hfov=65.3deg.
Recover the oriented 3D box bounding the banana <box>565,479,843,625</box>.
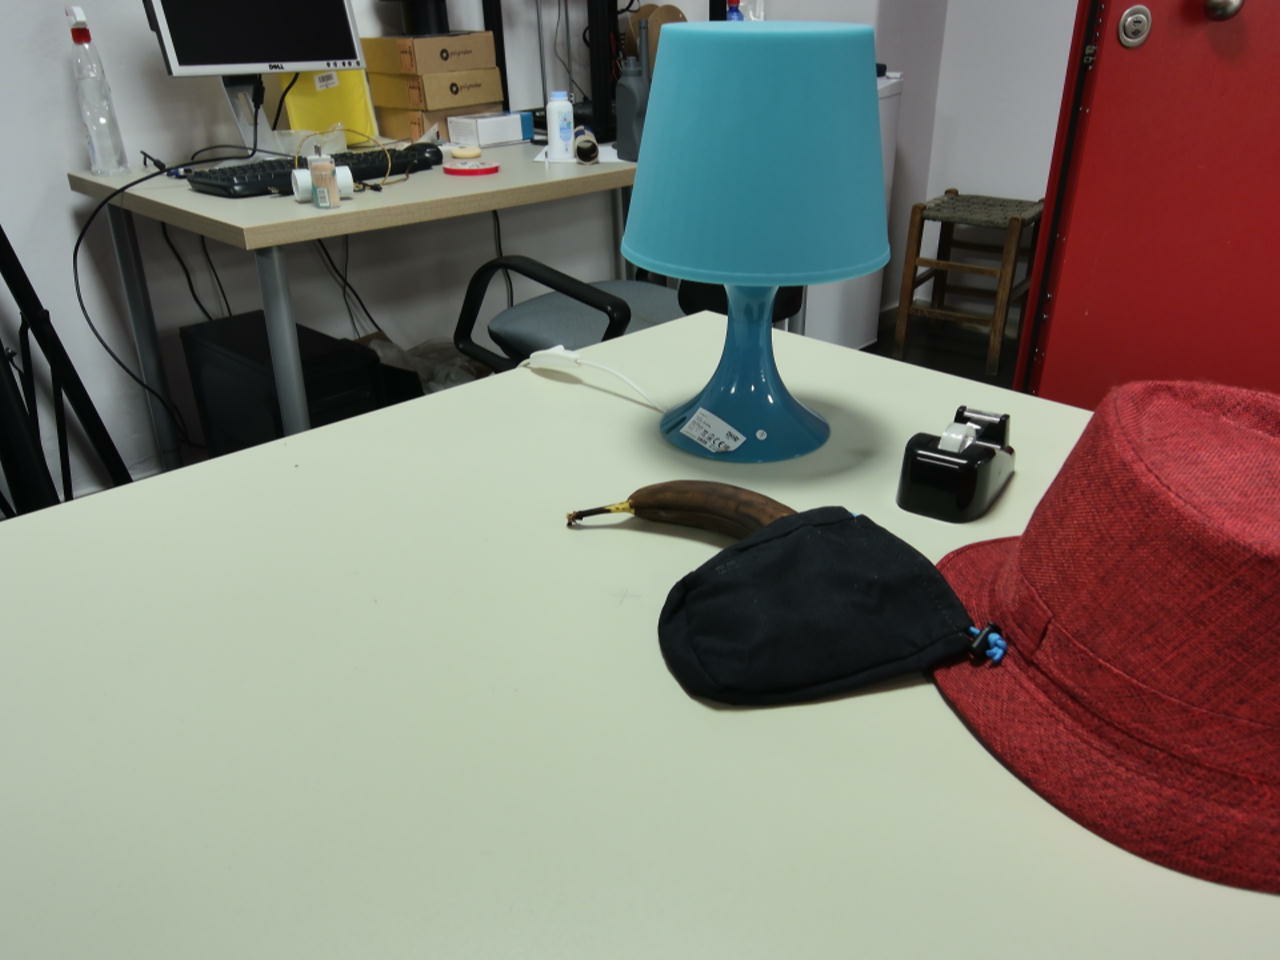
[{"bbox_3d":[0.050,0.030,0.601,0.091,0.034,0.188,-20,31,-37],"label":"banana"}]
